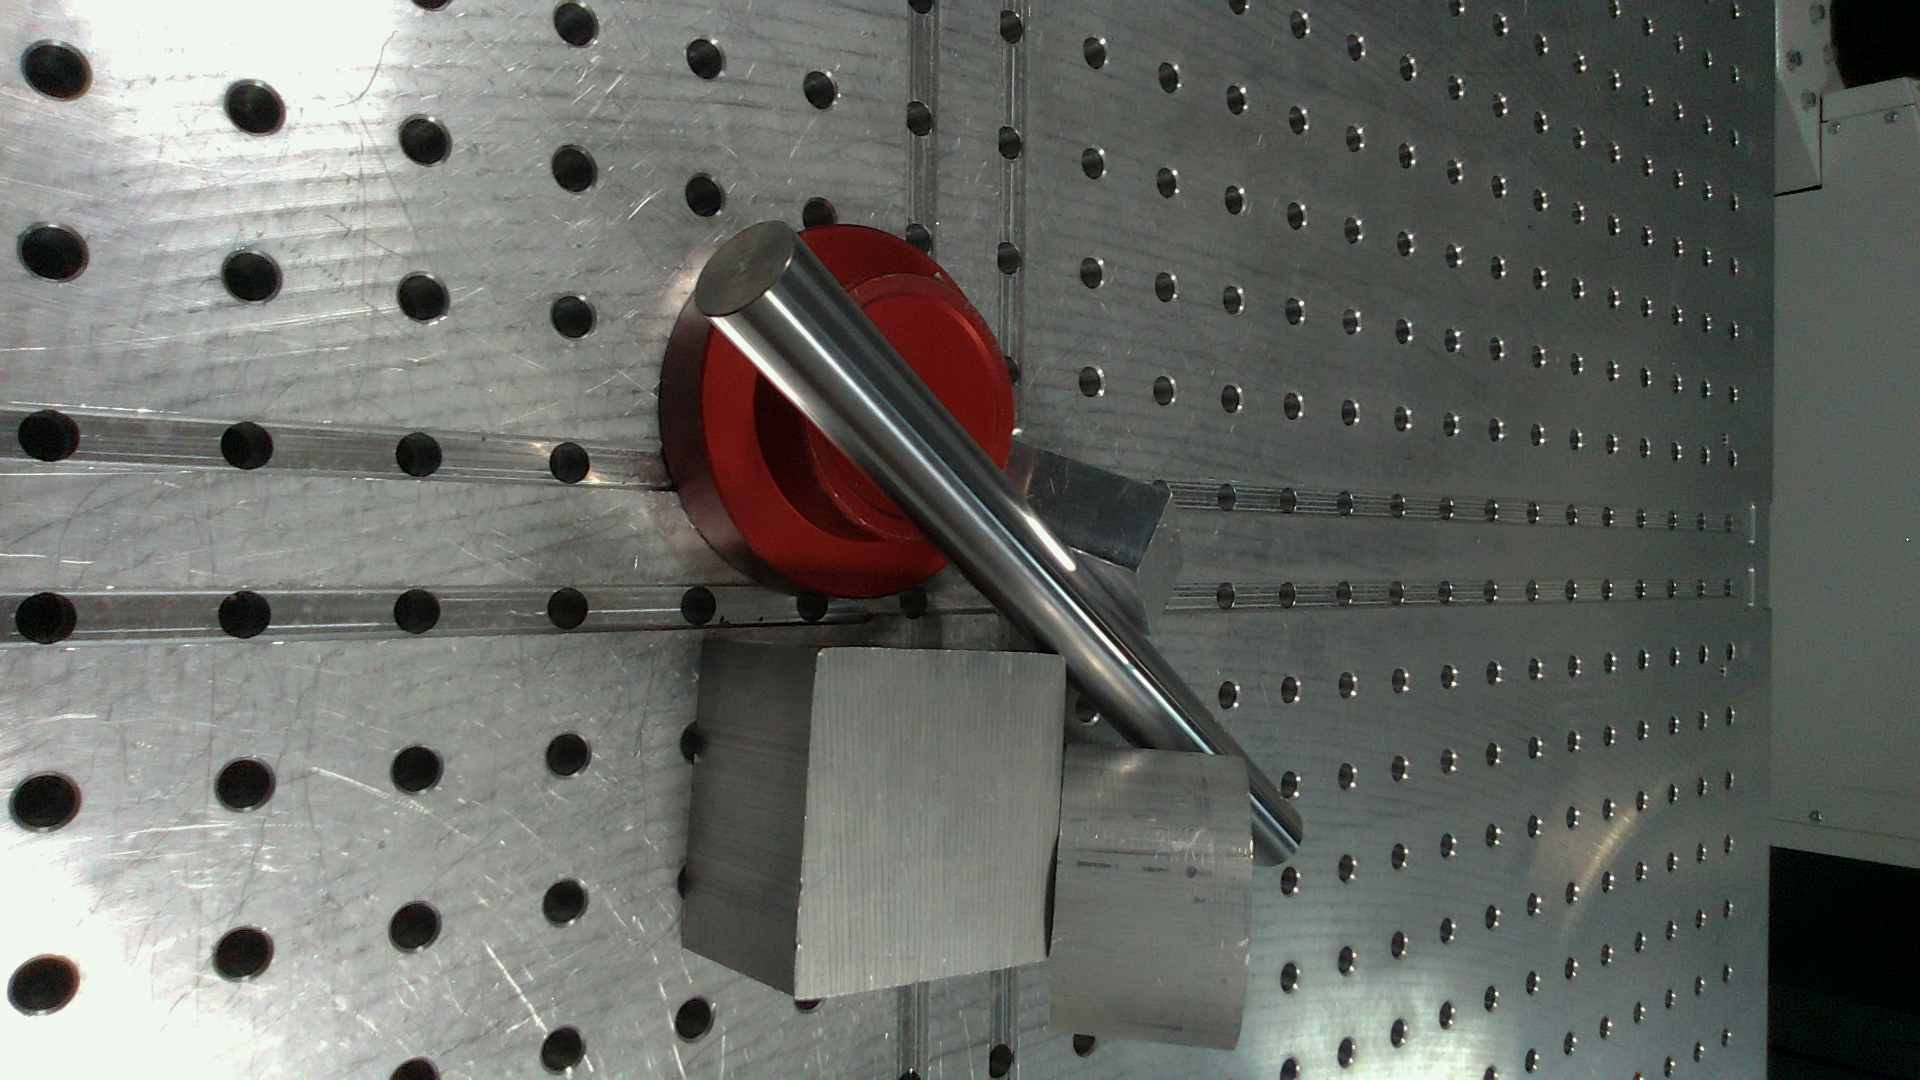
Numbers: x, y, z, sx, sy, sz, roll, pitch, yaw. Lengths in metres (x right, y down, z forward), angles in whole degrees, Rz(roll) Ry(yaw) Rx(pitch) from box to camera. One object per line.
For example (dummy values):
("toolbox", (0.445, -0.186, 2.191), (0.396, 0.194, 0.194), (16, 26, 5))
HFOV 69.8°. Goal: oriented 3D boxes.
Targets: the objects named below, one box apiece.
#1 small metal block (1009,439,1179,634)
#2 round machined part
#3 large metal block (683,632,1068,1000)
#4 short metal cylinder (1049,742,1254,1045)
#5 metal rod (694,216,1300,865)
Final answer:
("small metal block", (0.034, -0.001, 0.392), (0.025, 0.050, 0.050), (-64, 159, -16))
("round machined part", (-0.025, -0.034, 0.360), (0.098, 0.042, 0.098), (0, 90, -40))
("large metal block", (-0.021, 0.067, 0.355), (0.080, 0.050, 0.080), (6, 86, -40))
("short metal cylinder", (0.053, 0.100, 0.392), (0.080, 0.050, 0.080), (3, 90, -84))
("metal rod", (0.032, 0.024, 0.377), (0.301, 0.025, 0.025), (46, 62, -44))
